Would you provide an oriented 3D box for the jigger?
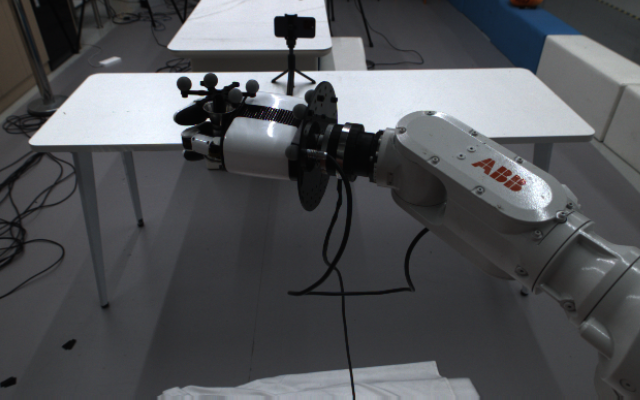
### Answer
[{"bbox_3d":[-0.124,-0.089,0.623,0.043,0.071,0.043,4,31,-2],"label":"jigger"}]
